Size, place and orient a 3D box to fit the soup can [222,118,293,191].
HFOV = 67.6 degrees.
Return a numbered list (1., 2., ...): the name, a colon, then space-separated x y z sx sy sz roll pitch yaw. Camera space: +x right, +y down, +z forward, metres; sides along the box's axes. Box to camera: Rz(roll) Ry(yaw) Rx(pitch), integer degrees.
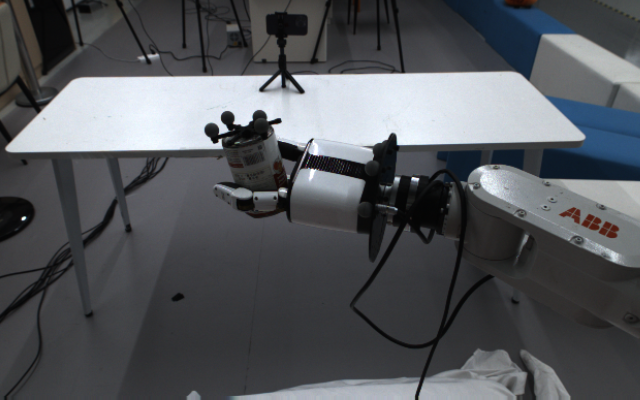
1. soup can: -0.077 -0.037 0.612 0.067 0.101 0.067 -11 27 6
